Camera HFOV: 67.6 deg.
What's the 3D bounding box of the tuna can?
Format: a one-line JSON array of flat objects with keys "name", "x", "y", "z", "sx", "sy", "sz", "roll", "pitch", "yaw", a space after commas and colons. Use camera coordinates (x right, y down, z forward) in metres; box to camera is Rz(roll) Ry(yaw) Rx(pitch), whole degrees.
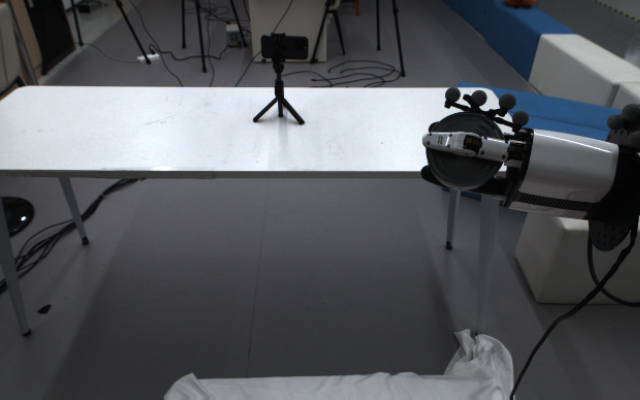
[{"name": "tuna can", "x": 0.167, "y": -0.058, "z": 0.553, "sx": 0.085, "sy": 0.085, "sz": 0.034, "roll": 14, "pitch": -7, "yaw": 16}]
